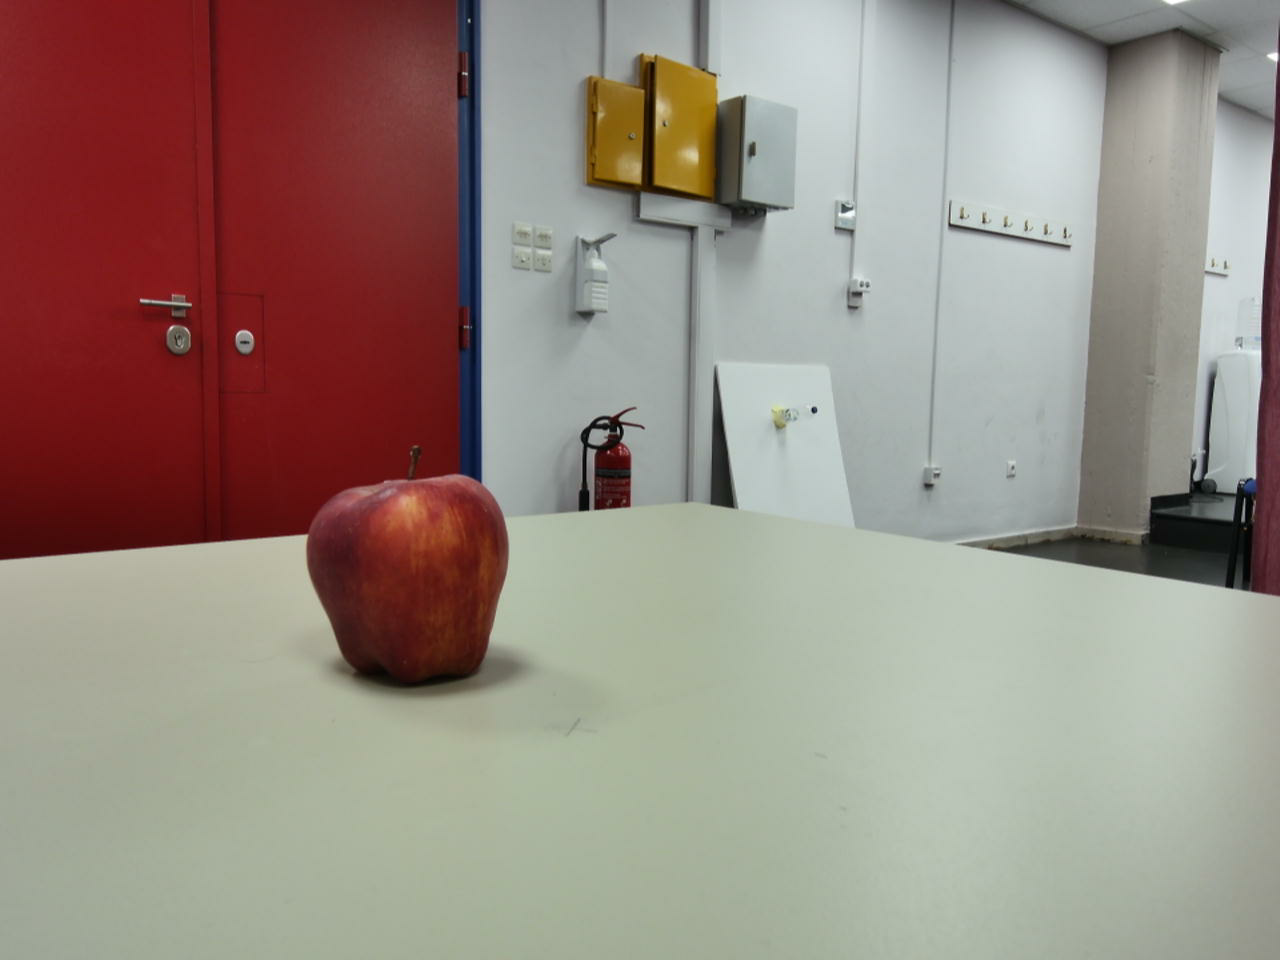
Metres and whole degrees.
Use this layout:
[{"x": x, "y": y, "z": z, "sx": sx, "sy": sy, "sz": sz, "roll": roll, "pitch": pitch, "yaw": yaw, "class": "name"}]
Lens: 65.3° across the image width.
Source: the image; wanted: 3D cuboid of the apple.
[{"x": -0.092, "y": 0.032, "z": 0.401, "sx": 0.083, "sy": 0.090, "sz": 0.083, "roll": 0, "pitch": 4, "yaw": 0, "class": "apple"}]
